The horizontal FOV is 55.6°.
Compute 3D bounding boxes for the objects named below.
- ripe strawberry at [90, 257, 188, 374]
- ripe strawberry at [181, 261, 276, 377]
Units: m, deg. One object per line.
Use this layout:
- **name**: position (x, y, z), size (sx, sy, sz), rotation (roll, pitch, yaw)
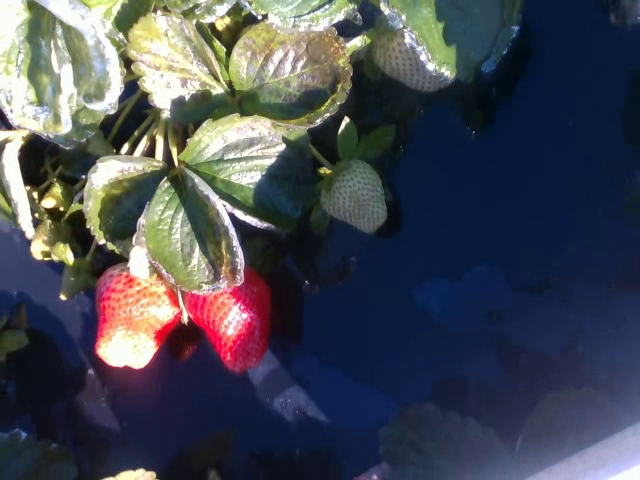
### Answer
- **ripe strawberry**: position (-0.100, 0.047, 0.332), size (0.052, 0.070, 0.040), rotation (10, 10, 2)
- **ripe strawberry**: position (-0.051, 0.041, 0.310), size (0.043, 0.059, 0.040), rotation (-36, 1, 19)
